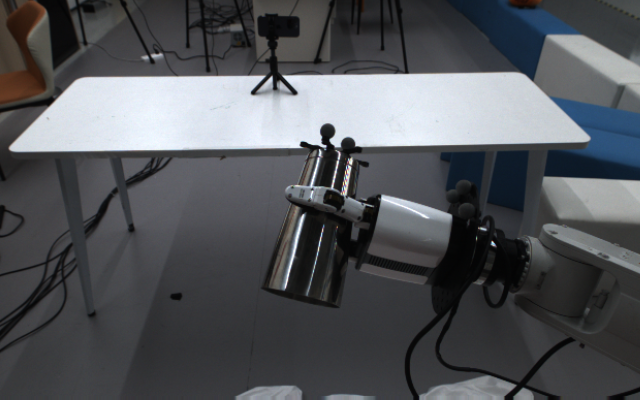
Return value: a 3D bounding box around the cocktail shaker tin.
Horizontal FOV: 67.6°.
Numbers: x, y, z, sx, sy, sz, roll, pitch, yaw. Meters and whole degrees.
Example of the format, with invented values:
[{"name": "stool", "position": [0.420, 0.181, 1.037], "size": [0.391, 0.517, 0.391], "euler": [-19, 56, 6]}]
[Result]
[{"name": "cocktail shaker tin", "position": [-0.003, 0.032, 0.565], "size": [0.093, 0.093, 0.170], "euler": [11, 74, 12]}]
